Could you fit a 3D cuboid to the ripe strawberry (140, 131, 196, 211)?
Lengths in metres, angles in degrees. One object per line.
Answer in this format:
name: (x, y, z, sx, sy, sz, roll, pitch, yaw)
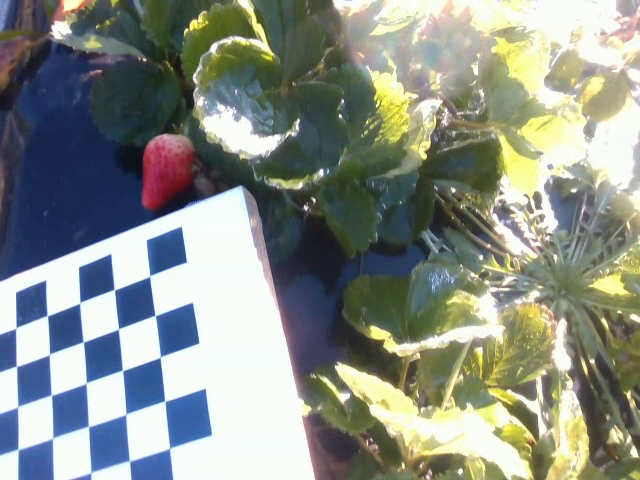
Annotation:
ripe strawberry: (-0.119, -0.053, 0.426, 0.040, 0.065, 0.040, 23, -11, 23)
